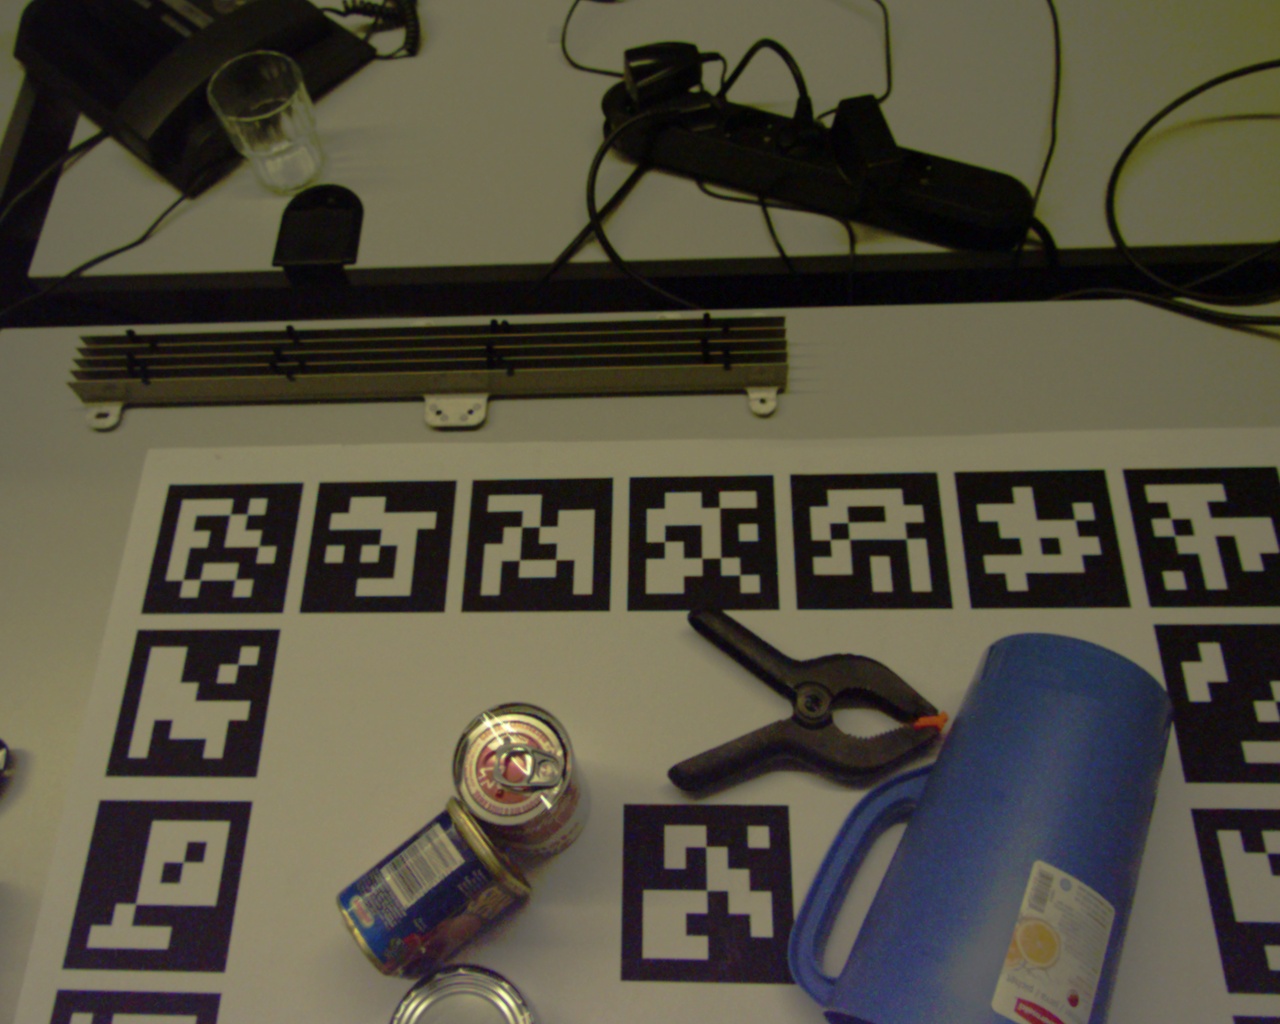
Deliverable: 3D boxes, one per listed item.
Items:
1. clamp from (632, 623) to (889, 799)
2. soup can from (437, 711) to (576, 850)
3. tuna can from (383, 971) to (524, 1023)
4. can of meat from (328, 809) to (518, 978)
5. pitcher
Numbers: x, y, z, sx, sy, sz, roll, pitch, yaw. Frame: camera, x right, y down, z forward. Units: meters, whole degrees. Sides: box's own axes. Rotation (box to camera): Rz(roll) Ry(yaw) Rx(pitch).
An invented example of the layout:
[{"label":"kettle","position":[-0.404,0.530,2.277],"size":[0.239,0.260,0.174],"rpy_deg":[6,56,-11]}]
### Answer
[{"label":"clamp","position":[0.080,0.134,0.758],"size":[0.165,0.036,0.122],"rpy_deg":[3,60,3]},{"label":"soup can","position":[-0.080,0.170,0.710],"size":[0.068,0.101,0.068],"rpy_deg":[-3,66,6]},{"label":"tuna can","position":[-0.110,0.319,0.675],"size":[0.086,0.033,0.086],"rpy_deg":[-2,66,4]},{"label":"can of meat","position":[-0.129,0.230,0.680],"size":[0.083,0.101,0.058],"rpy_deg":[-35,68,-8]},{"label":"pitcher","position":[0.186,0.207,0.645],"size":[0.191,0.132,0.242],"rpy_deg":[9,56,33]}]
